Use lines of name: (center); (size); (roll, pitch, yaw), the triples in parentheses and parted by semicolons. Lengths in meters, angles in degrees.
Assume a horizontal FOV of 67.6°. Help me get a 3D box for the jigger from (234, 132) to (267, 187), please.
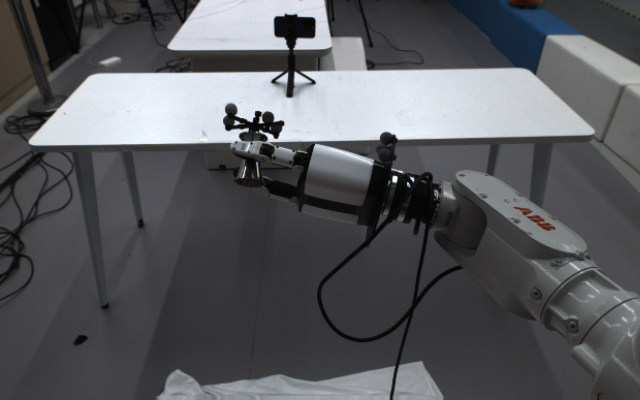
jigger: (-0.096, -0.056, 0.669); (0.043, 0.043, 0.071); (3, 76, 1)
